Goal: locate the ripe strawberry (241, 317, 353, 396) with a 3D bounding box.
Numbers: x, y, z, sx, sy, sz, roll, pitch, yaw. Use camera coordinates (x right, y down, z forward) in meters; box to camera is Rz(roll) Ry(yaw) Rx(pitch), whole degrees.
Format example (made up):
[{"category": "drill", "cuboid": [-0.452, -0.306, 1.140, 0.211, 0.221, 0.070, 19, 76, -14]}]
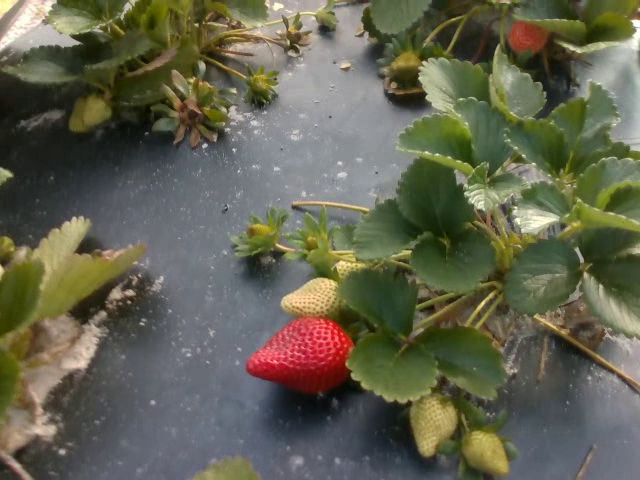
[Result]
[{"category": "ripe strawberry", "cuboid": [-0.017, 0.060, 0.325, 0.055, 0.048, 0.051, 0, 1, -33]}]
